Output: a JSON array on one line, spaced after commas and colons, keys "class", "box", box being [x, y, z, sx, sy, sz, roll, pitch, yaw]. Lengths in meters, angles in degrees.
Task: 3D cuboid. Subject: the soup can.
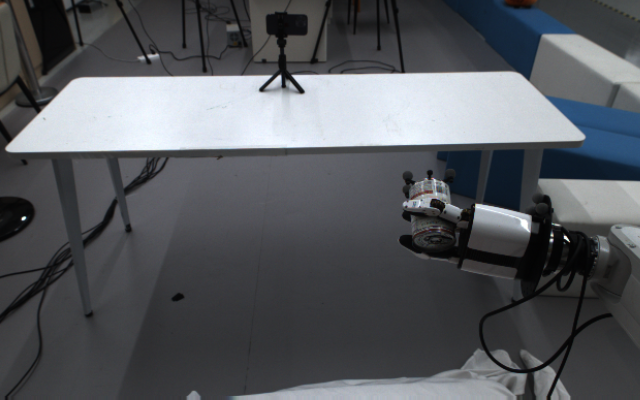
[{"class": "soup can", "box": [0.179, 0.023, 0.775, 0.067, 0.067, 0.101, 3, 57, 1]}]
